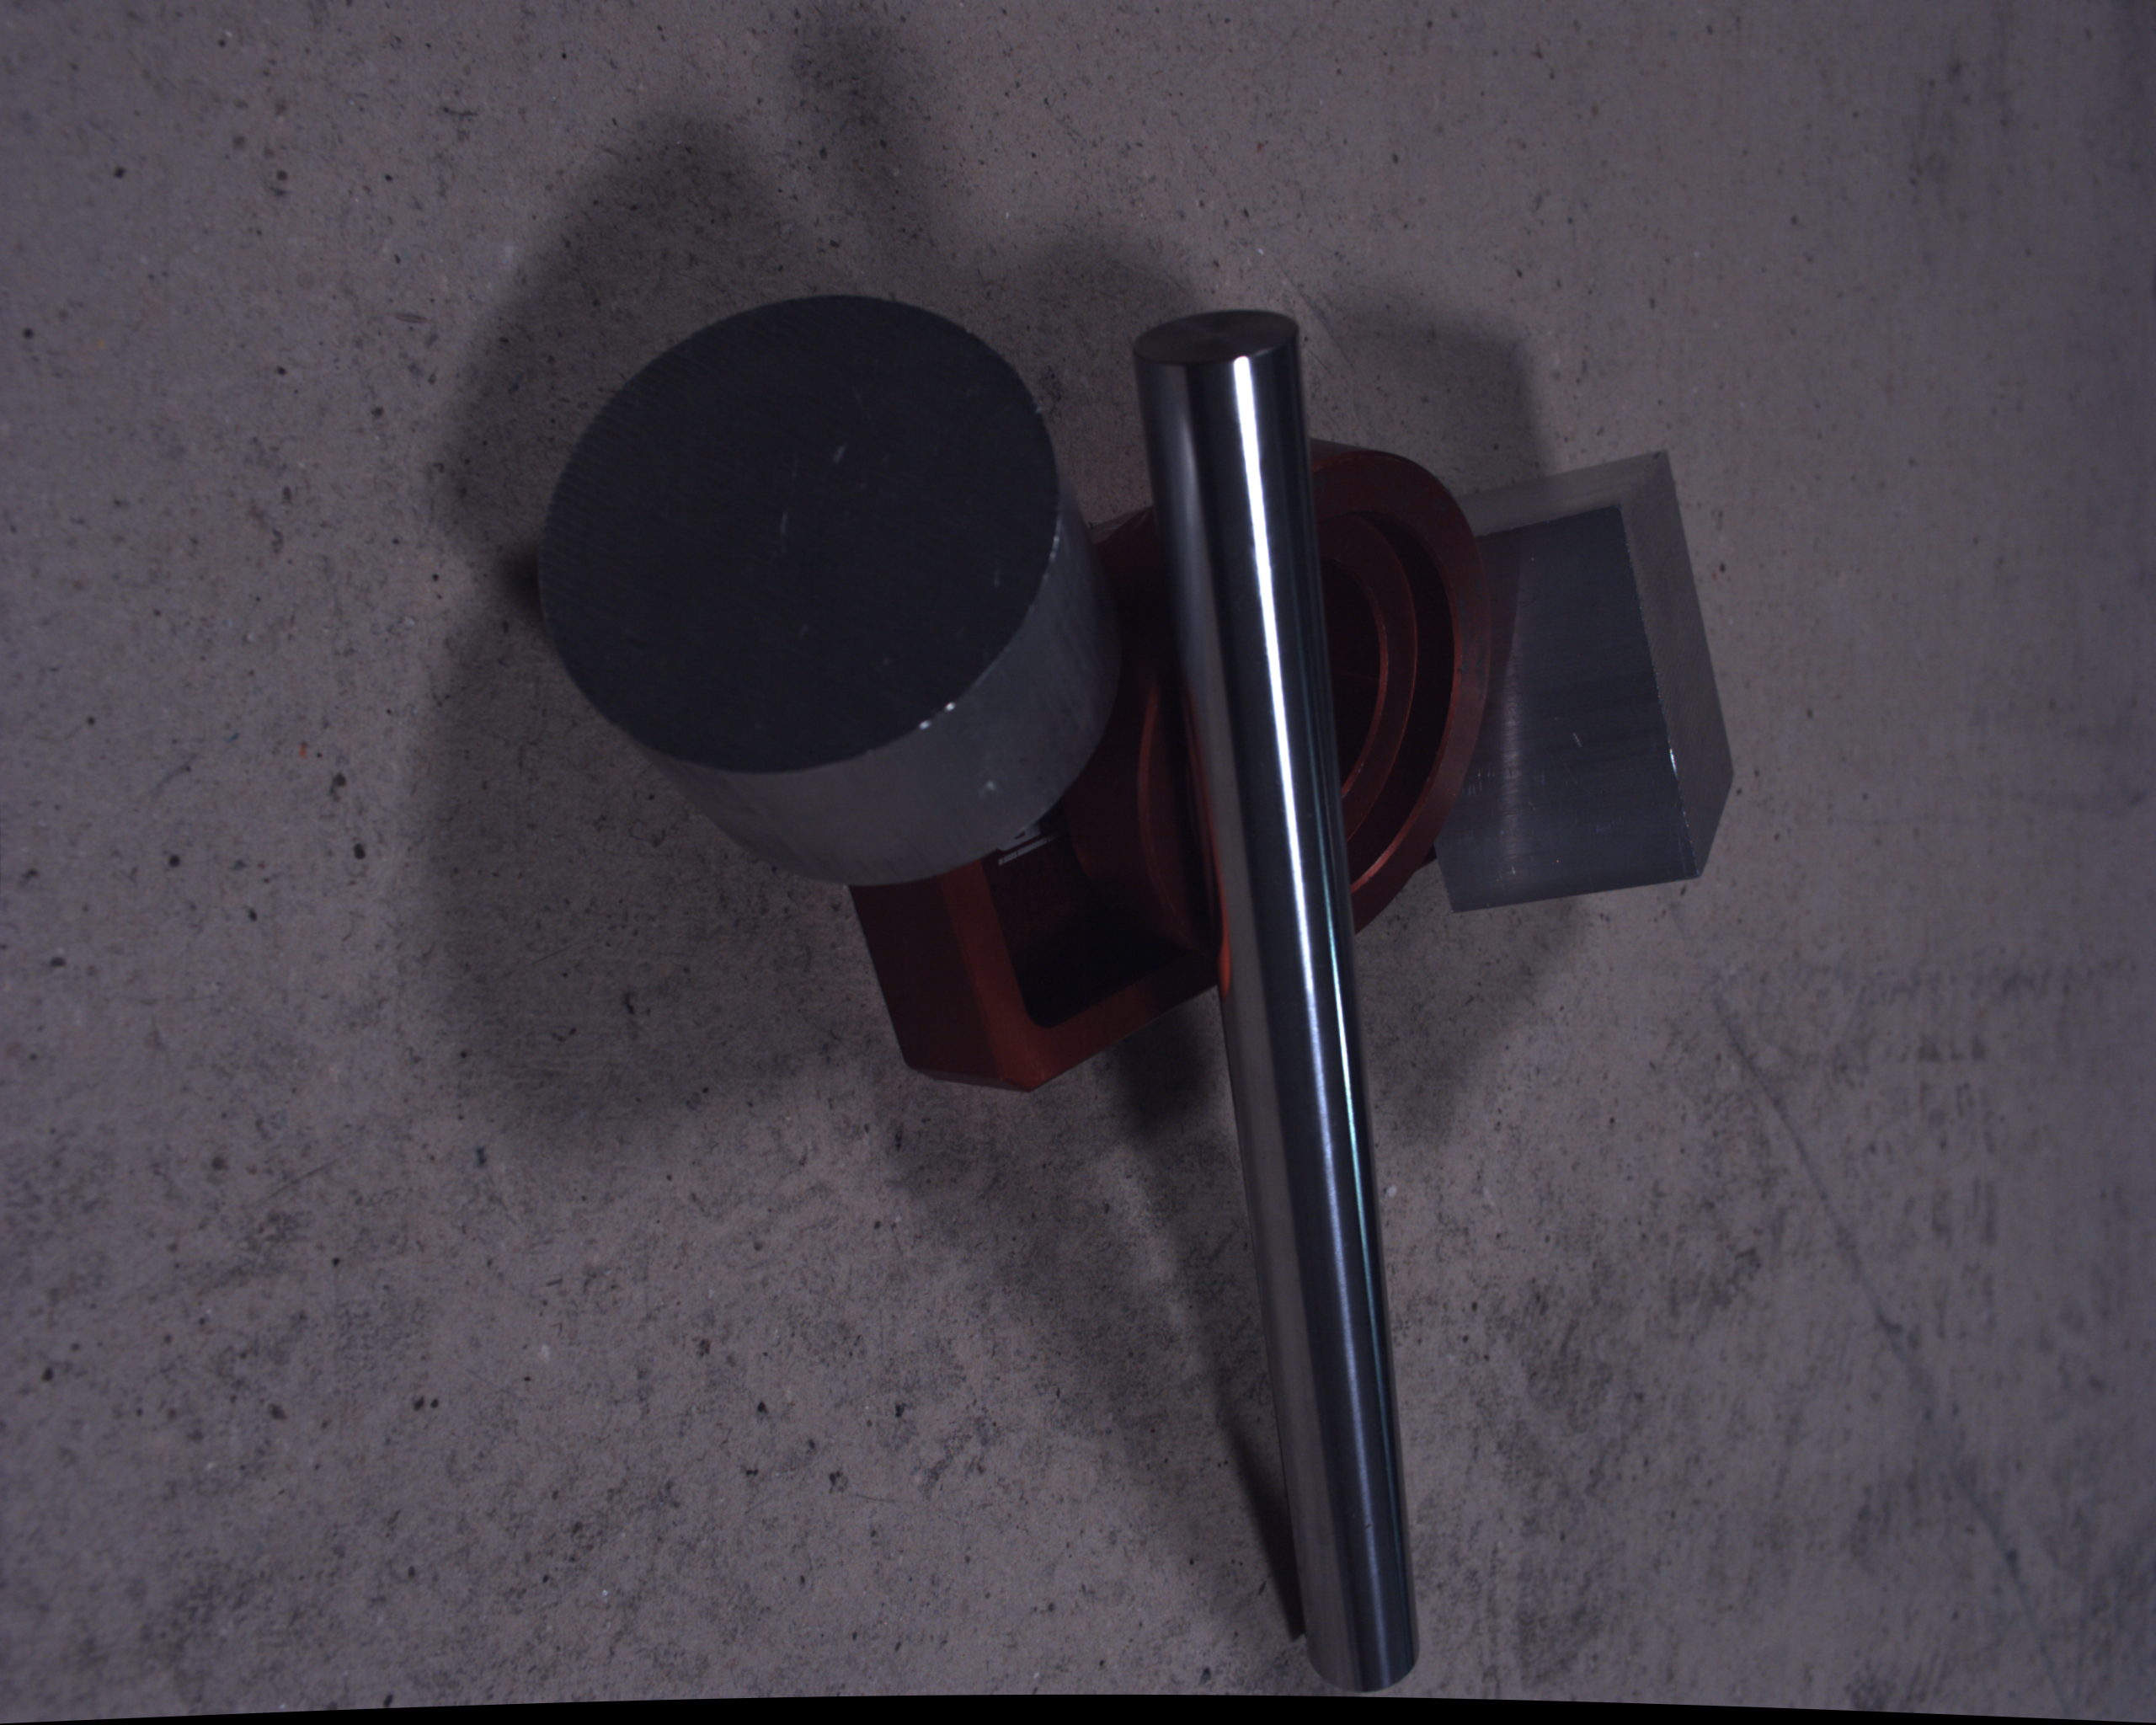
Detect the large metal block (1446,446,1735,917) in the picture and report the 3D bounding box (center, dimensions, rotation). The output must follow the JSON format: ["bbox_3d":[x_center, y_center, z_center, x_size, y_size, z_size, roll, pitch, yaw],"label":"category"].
[{"bbox_3d":[0.109,-0.042,0.462,0.080,0.050,0.080,-41,118,-61],"label":"large metal block"}]

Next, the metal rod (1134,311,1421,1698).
[{"bbox_3d":[0.042,0.048,0.387,0.025,0.025,0.298,-34,128,-35],"label":"metal rod"}]

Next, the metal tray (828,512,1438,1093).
[{"bbox_3d":[0.013,-0.021,0.416,0.131,0.030,0.089,-26,107,-37],"label":"metal tray"}]

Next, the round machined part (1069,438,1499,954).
[{"bbox_3d":[0.033,-0.032,0.393,0.099,0.042,0.097,-19,118,-39],"label":"round machined part"}]

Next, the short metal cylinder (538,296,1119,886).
[{"bbox_3d":[-0.037,-0.042,0.332,0.050,0.080,0.080,60,46,-68],"label":"short metal cylinder"}]
